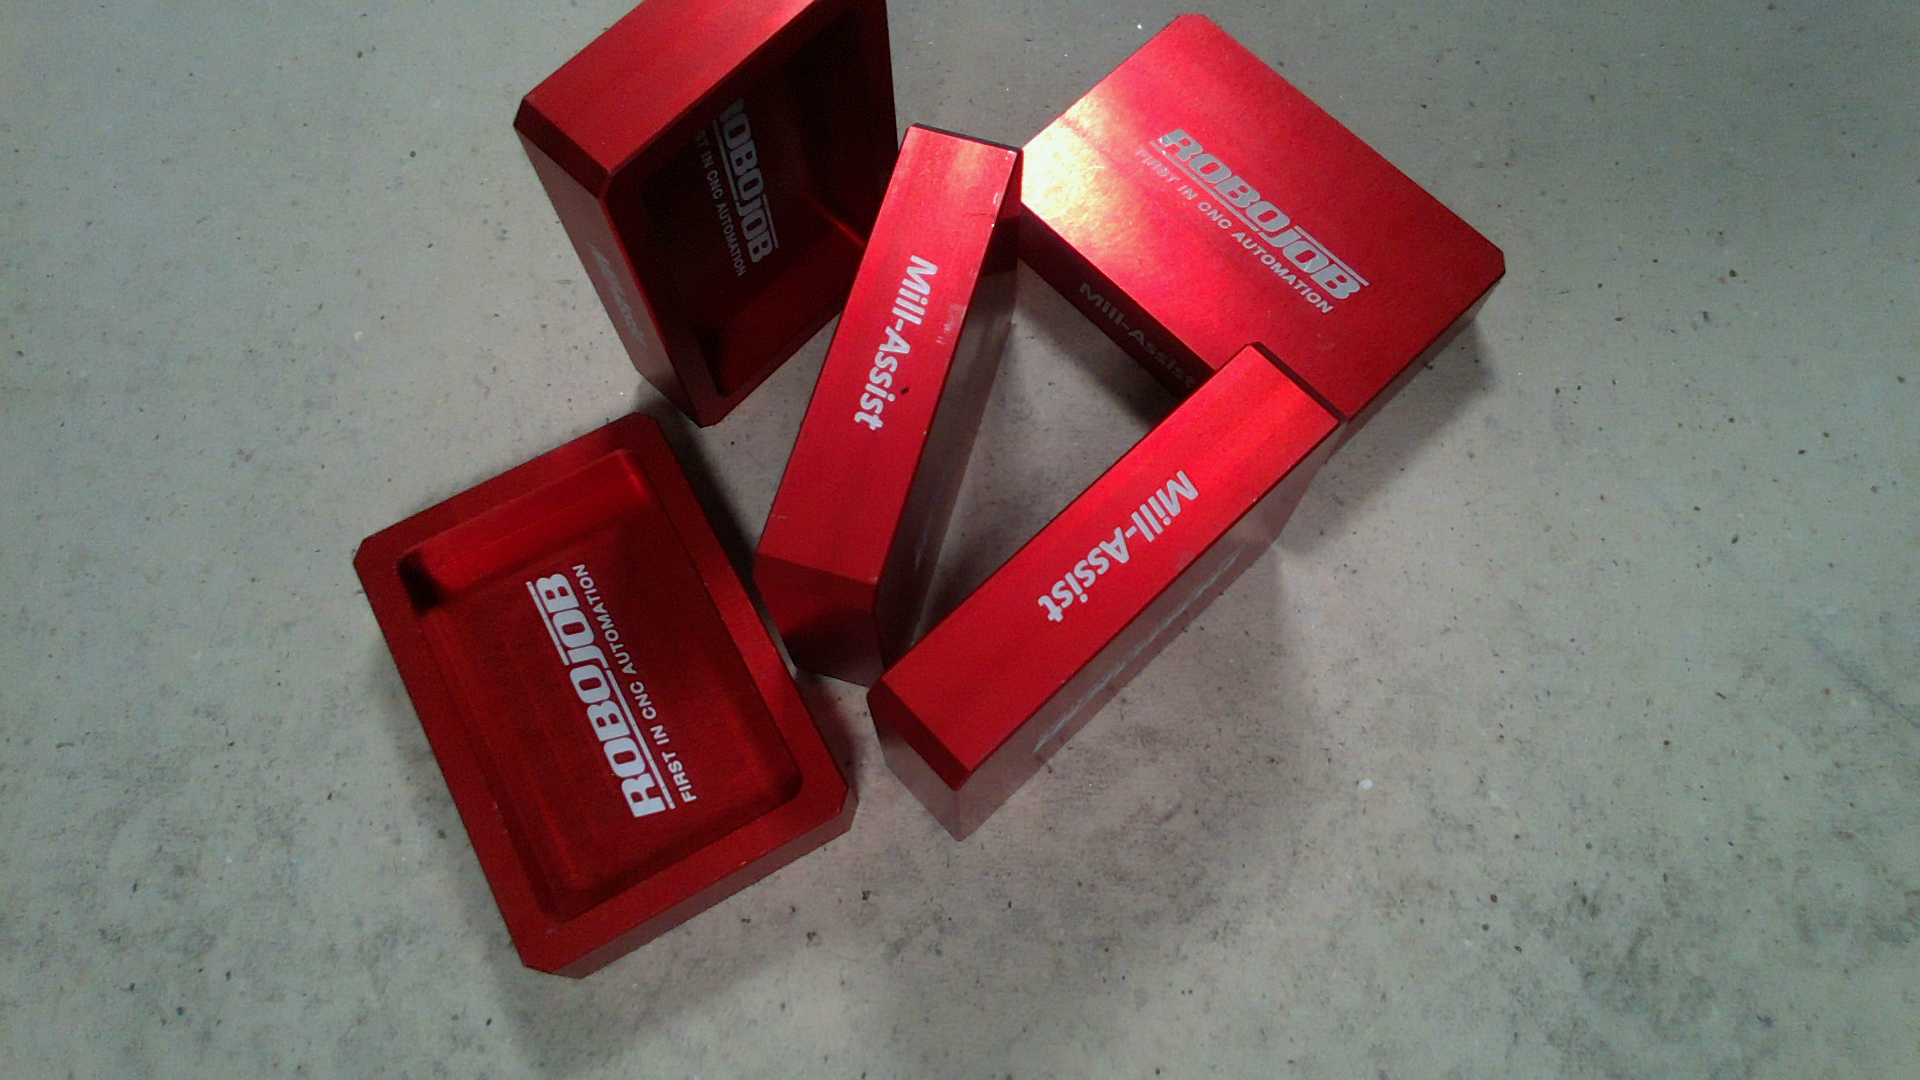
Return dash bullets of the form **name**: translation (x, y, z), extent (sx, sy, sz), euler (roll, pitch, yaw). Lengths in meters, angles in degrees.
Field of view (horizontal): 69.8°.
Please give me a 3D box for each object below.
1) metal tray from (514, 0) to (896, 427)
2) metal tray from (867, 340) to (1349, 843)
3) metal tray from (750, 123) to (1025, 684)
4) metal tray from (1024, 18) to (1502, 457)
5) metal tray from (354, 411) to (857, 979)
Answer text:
- **metal tray**: translation (-0.059, -0.095, 0.373), extent (0.030, 0.130, 0.090), euler (41, 75, 14)
- **metal tray**: translation (0.036, 0.017, 0.354), extent (0.130, 0.090, 0.030), euler (-42, 75, -14)
- **metal tray**: translation (-0.015, -0.033, 0.372), extent (0.030, 0.090, 0.130), euler (15, 71, 6)
- **metal tray**: translation (0.086, -0.092, 0.426), extent (0.090, 0.030, 0.130), euler (-43, 75, -14)
- **metal tray**: translation (-0.097, 0.040, 0.377), extent (0.090, 0.030, 0.130), euler (-27, 72, -10)
